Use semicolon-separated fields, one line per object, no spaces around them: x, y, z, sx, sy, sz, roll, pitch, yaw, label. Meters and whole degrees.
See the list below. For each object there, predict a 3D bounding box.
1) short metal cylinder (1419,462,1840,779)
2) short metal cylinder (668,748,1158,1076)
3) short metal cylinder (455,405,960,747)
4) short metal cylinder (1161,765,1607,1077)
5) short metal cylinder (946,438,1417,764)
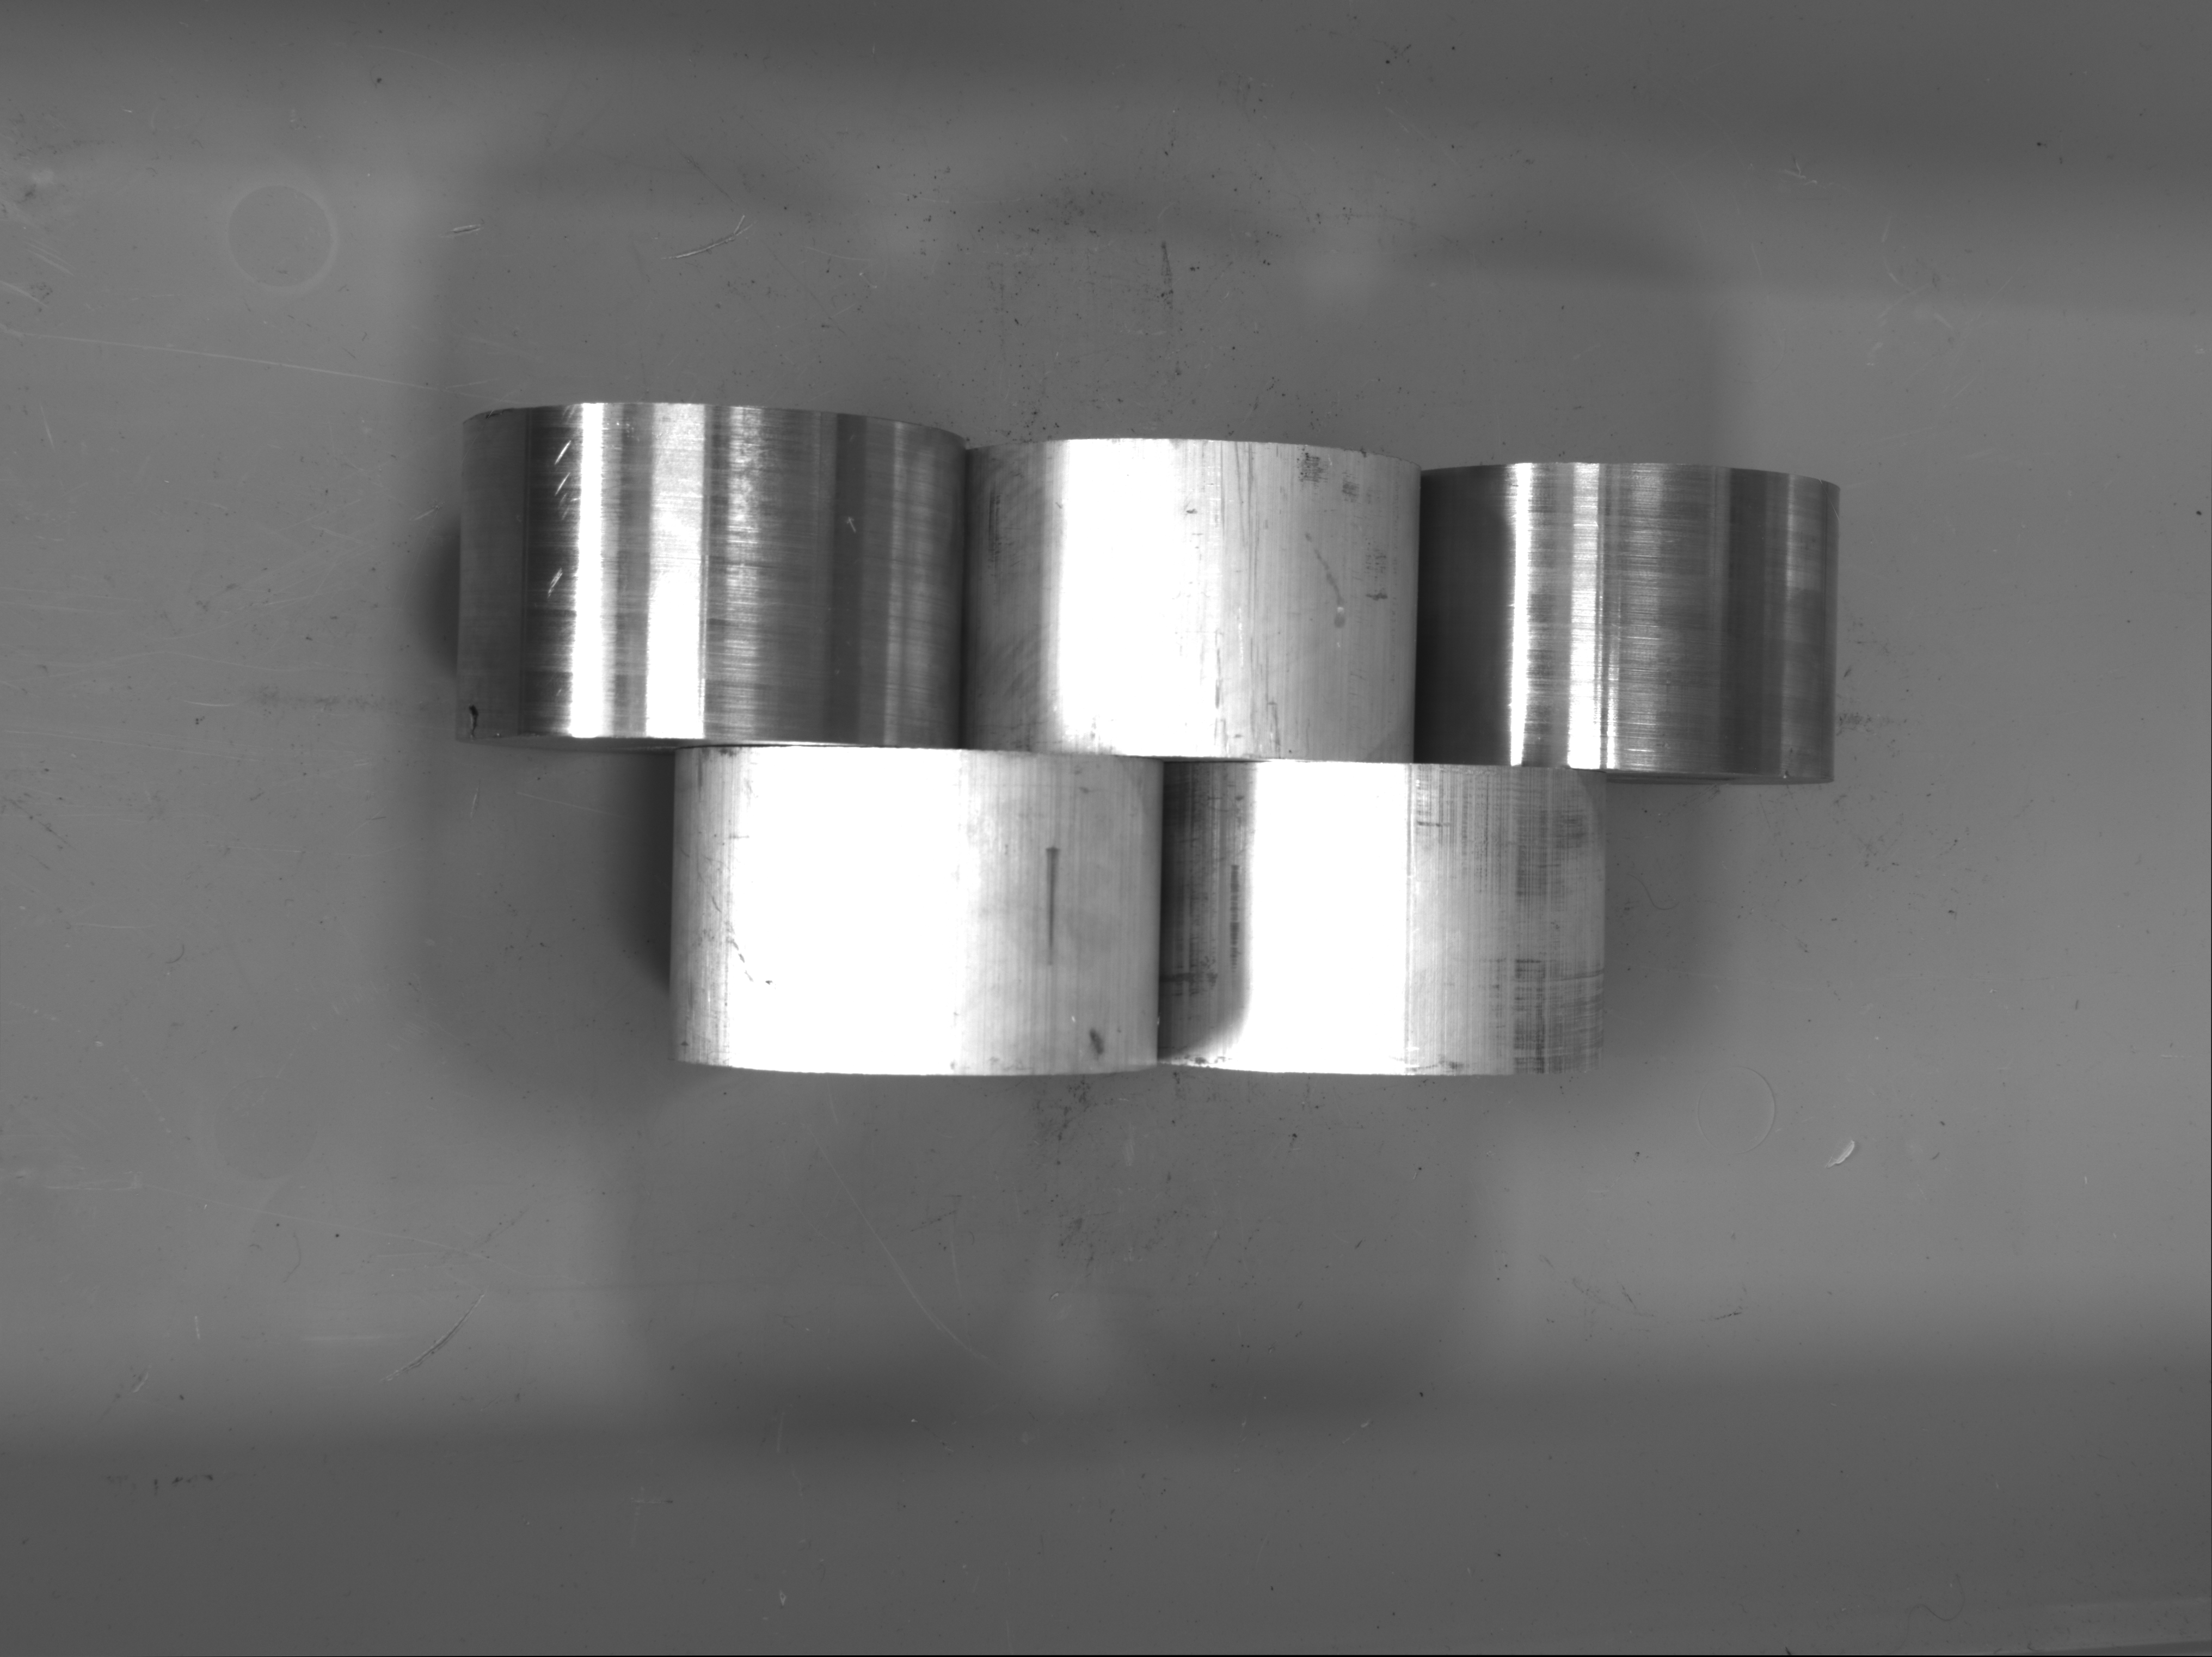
0.088;-0.035;0.644;0.080;0.080;0.050;2;89;-20;short metal cylinder
-0.031;0.013;0.601;0.080;0.080;0.050;1;90;-20;short metal cylinder
-0.064;-0.038;0.589;0.080;0.080;0.050;1;90;-20;short metal cylinder
0.045;0.015;0.629;0.080;0.080;0.050;1;90;-20;short metal cylinder
0.012;-0.036;0.617;0.080;0.080;0.050;1;90;-20;short metal cylinder
